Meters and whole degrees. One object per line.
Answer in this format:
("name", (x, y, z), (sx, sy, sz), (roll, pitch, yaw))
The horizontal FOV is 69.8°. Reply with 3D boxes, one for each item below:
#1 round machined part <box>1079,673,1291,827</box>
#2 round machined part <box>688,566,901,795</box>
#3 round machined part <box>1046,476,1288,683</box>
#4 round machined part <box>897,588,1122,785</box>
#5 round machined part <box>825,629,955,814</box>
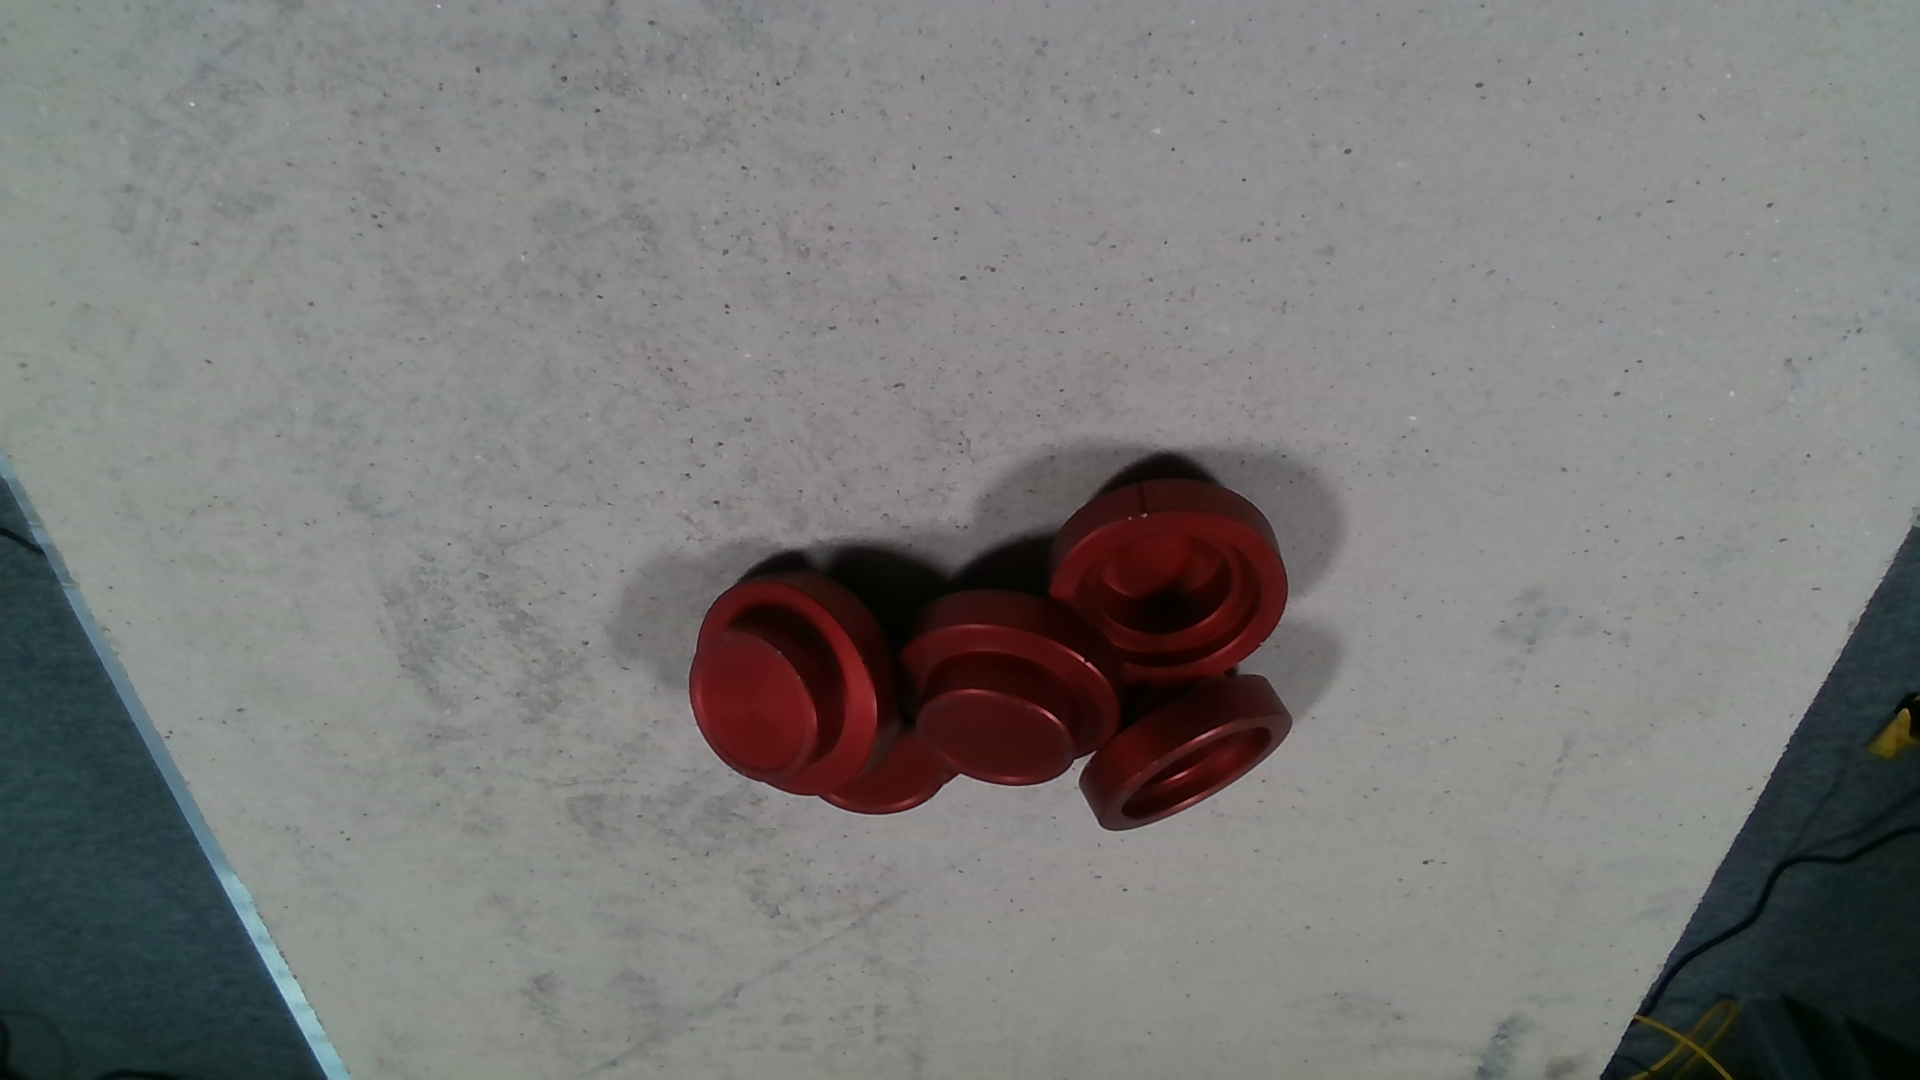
("round machined part", (0.097, 0.088, 0.624), (0.098, 0.042, 0.098), (-22, 151, -13))
("round machined part", (-0.077, 0.064, 0.589), (0.098, 0.042, 0.098), (10, 110, 30))
("round machined part", (0.084, 0.011, 0.578), (0.098, 0.042, 0.098), (0, 130, 0))
("round machined part", (0.019, 0.068, 0.582), (0.098, 0.042, 0.098), (8, 139, 7))
("round machined part", (-0.040, 0.091, 0.644), (0.098, 0.042, 0.098), (0, 130, 0))
